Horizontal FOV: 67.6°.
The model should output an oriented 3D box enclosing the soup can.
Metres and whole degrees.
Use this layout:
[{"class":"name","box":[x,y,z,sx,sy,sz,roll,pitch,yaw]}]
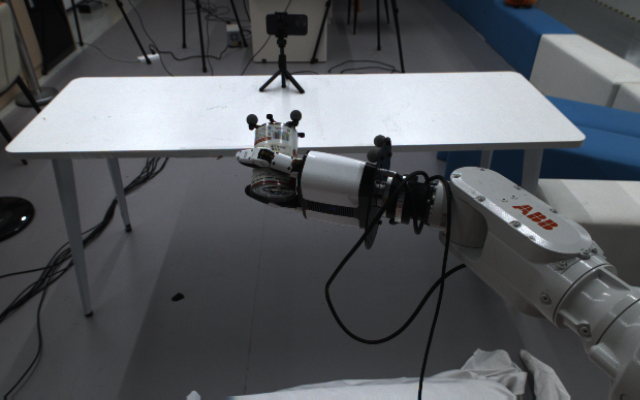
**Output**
[{"class":"soup can","box":[-0.067,-0.056,0.718,0.067,0.067,0.101,2,68,-1]}]
